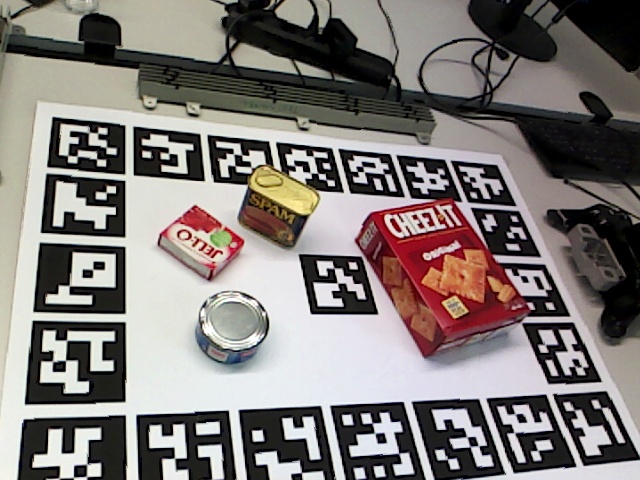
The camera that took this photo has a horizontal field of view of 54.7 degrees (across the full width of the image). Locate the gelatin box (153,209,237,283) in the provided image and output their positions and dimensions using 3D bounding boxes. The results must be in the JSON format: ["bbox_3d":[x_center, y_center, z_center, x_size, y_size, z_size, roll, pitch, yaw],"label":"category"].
[{"bbox_3d":[-0.172,0.006,0.851,0.089,0.030,0.073,36,43,5],"label":"gelatin box"}]

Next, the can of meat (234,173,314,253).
[{"bbox_3d":[-0.071,-0.036,0.906,0.102,0.084,0.058,25,45,0],"label":"can of meat"}]

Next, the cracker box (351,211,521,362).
[{"bbox_3d":[0.173,0.060,0.933,0.163,0.072,0.215,-11,54,-33],"label":"cracker box"}]

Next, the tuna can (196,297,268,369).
[{"bbox_3d":[-0.111,0.116,0.774,0.085,0.034,0.086,11,51,-14],"label":"tuna can"}]
